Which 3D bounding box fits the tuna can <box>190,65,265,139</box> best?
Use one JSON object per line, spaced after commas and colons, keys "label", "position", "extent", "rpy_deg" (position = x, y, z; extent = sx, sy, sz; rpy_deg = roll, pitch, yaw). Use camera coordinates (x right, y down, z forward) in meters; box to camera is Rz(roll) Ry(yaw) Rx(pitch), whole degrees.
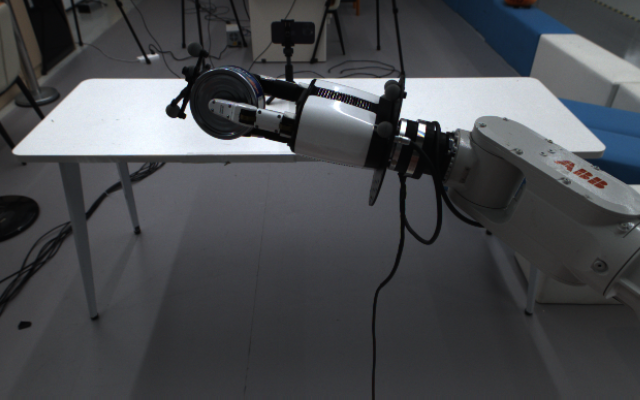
{"label": "tuna can", "position": [-0.110, -0.118, 0.581], "extent": [0.085, 0.085, 0.034], "rpy_deg": [6, 20, 5]}
